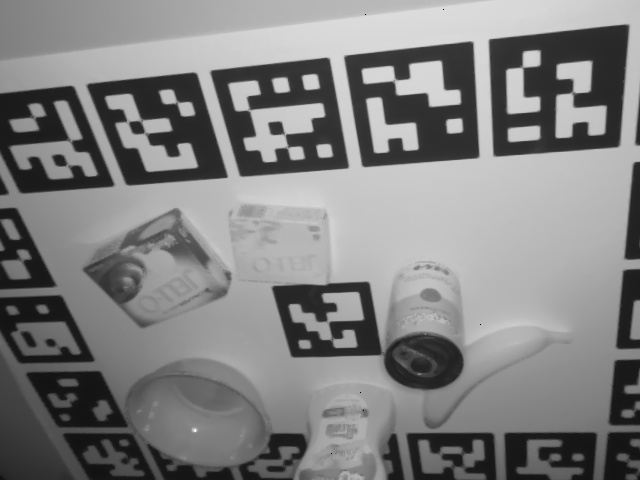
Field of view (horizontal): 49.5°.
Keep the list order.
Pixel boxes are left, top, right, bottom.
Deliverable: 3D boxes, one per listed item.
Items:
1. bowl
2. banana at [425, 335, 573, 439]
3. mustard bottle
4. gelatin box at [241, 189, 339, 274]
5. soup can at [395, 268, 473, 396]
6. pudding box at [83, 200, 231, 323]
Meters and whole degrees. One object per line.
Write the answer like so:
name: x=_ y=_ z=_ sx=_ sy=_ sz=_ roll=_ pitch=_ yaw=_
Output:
bowl: x=-0.143 y=0.182 z=0.782 sx=0.161 sy=0.056 sz=0.160 roll=3 pitch=124 yaw=5
banana: x=0.167 y=0.151 z=0.723 sx=0.075 sy=0.039 sz=0.194 roll=28 pitch=124 yaw=-22
mustard bottle: x=0.015 y=0.238 z=0.696 sx=0.096 sy=0.193 sz=0.058 roll=-1 pitch=126 yaw=10
gelatin box: x=-0.027 y=-0.007 z=0.651 sx=0.089 sy=0.030 sz=0.072 roll=4 pitch=121 yaw=5
soup can: x=0.107 y=0.082 z=0.636 sx=0.068 sy=0.103 sz=0.067 roll=5 pitch=126 yaw=8
pudding box: x=-0.158 y=0.022 z=0.684 sx=0.112 sy=0.039 sz=0.090 roll=-23 pitch=112 yaw=22
